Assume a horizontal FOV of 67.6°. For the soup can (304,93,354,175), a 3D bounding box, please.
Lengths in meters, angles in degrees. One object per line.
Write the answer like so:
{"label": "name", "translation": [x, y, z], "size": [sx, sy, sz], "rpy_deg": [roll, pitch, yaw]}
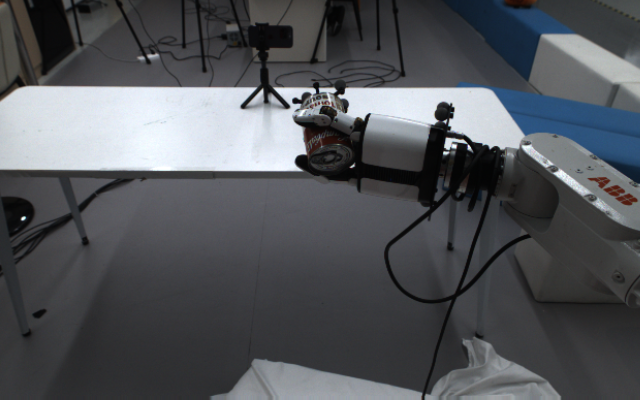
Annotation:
{"label": "soup can", "translation": [0.010, -0.095, 0.694], "size": [0.067, 0.067, 0.101], "rpy_deg": [-5, 58, -10]}
